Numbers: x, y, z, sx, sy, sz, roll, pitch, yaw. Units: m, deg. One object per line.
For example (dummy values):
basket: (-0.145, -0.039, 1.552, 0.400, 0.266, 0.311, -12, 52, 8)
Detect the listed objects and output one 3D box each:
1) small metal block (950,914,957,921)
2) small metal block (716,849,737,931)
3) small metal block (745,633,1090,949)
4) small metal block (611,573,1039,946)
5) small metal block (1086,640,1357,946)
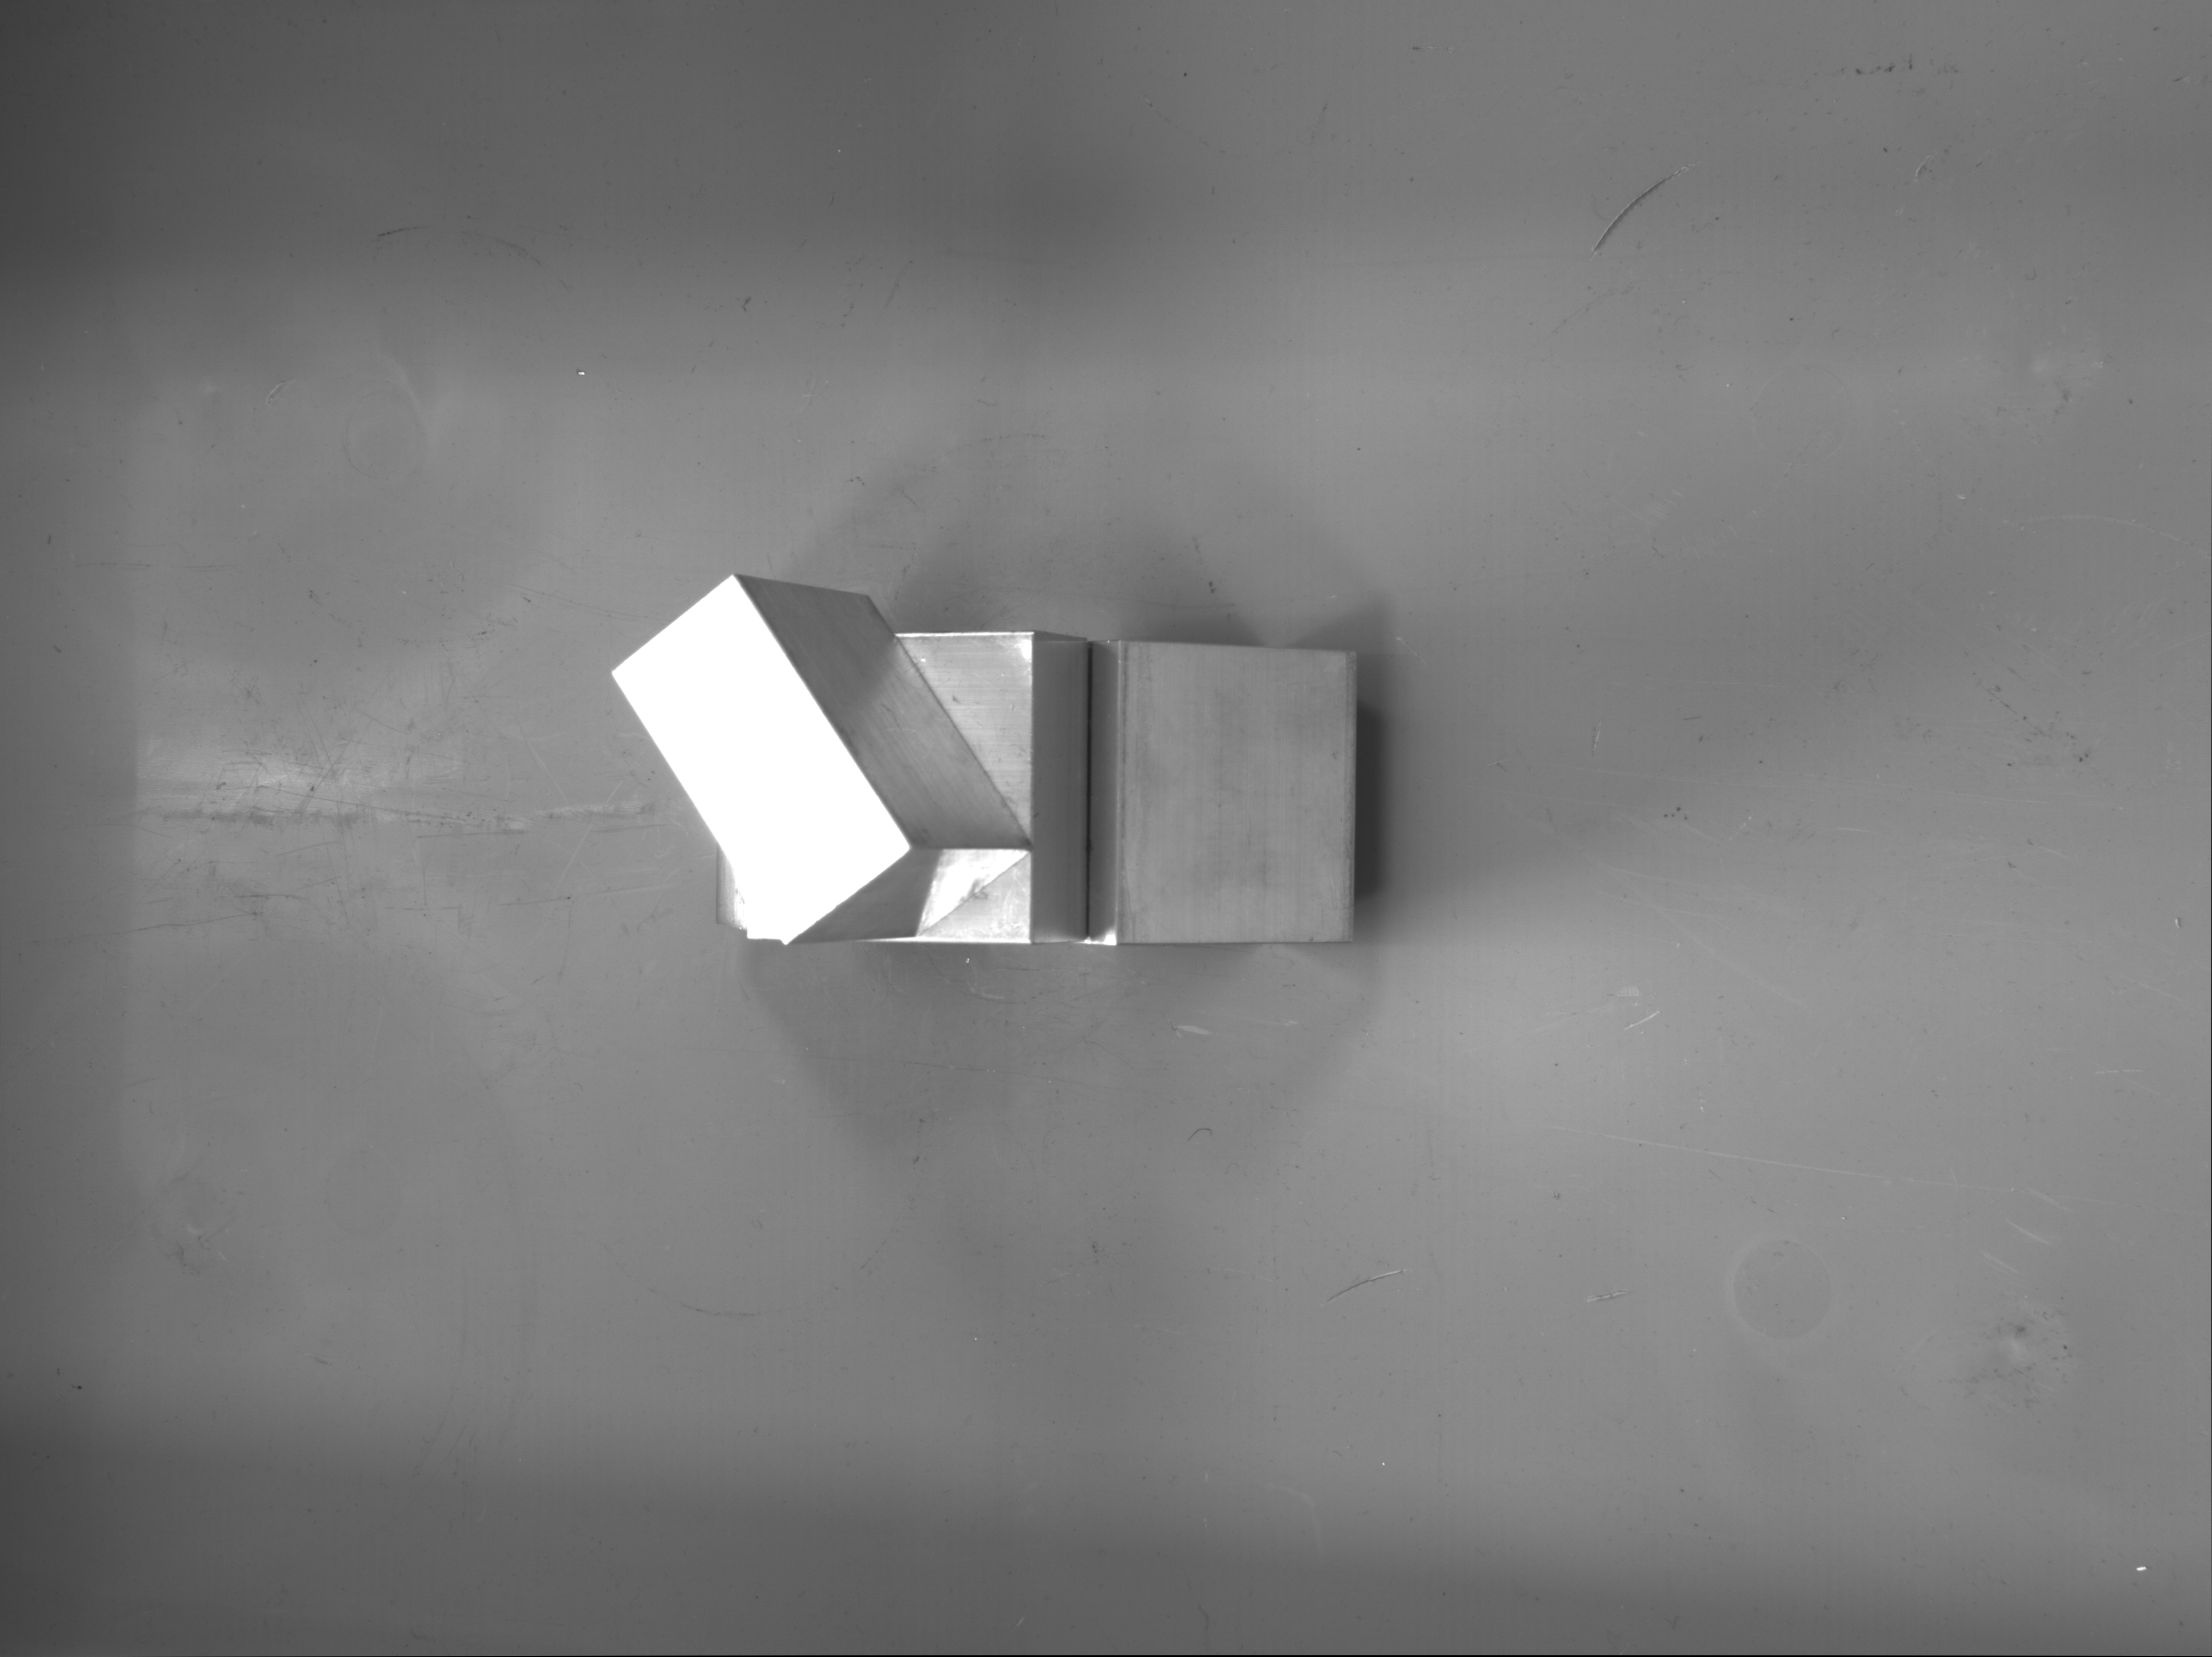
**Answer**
small metal block: (-0.019, -0.006, 0.638, 0.025, 0.050, 0.050, 1, 90, 20)
small metal block: (-0.053, -0.007, 0.648, 0.025, 0.050, 0.050, 1, 90, -13)
small metal block: (-0.031, -0.006, 0.602, 0.050, 0.025, 0.050, 1, 90, 20)
small metal block: (-0.043, -0.010, 0.566, 0.025, 0.050, 0.050, -37, 78, 17)
small metal block: (0.015, -0.006, 0.624, 0.025, 0.050, 0.050, 1, 90, 54)
